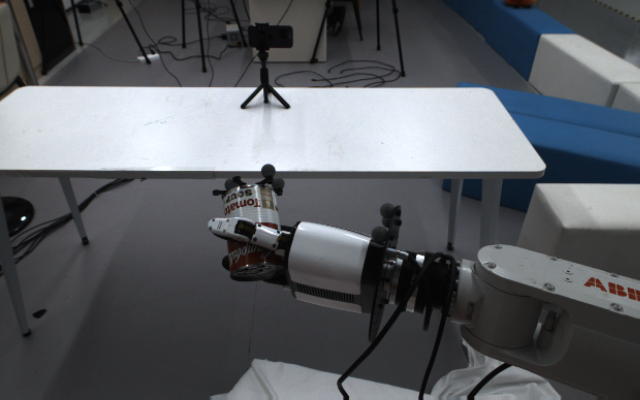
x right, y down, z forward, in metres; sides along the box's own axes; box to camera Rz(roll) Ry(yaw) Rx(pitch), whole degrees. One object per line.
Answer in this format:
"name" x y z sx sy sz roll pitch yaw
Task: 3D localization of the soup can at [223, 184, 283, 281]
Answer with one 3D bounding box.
"soup can" -0.077 0.042 0.586 0.067 0.067 0.101 -6 67 -12
